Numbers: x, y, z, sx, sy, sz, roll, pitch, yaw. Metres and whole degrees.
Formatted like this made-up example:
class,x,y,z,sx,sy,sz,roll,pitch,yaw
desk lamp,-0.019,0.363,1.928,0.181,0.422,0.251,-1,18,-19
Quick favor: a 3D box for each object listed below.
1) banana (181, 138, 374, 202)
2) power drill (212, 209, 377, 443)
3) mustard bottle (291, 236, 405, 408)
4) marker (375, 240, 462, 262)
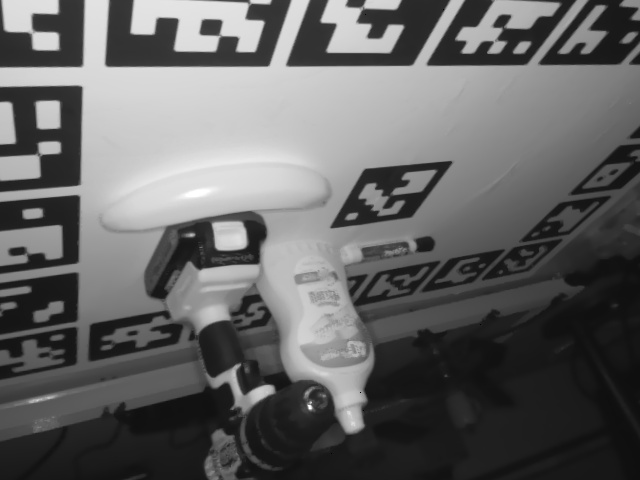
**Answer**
class,x,y,z,sx,sy,sz,roll,pitch,yaw
banana,-0.024,-0.061,0.616,0.200,0.039,0.073,-1,142,-35
power drill,-0.031,0.068,0.626,0.058,0.187,0.181,7,141,-36
mustard bottle,0.039,0.086,0.730,0.097,0.192,0.057,4,141,-35
marker,0.122,0.013,0.840,0.123,0.019,0.019,-4,144,-29
